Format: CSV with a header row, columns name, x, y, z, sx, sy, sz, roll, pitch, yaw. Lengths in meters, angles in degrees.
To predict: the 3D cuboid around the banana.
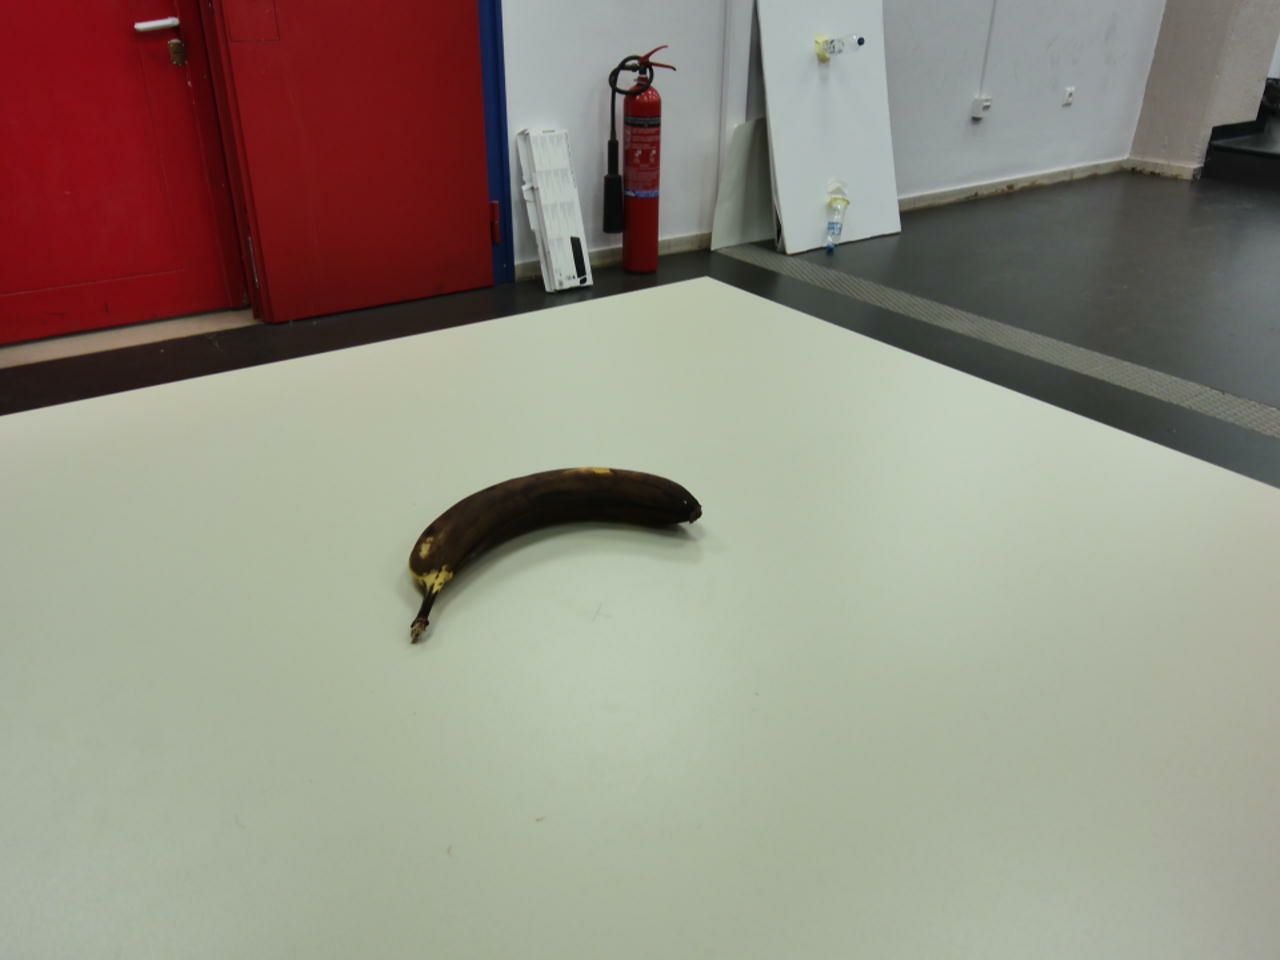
name,x,y,z,sx,sy,sz,roll,pitch,yaw
banana,-0.060,0.025,0.565,0.188,0.034,0.091,-17,31,-32
